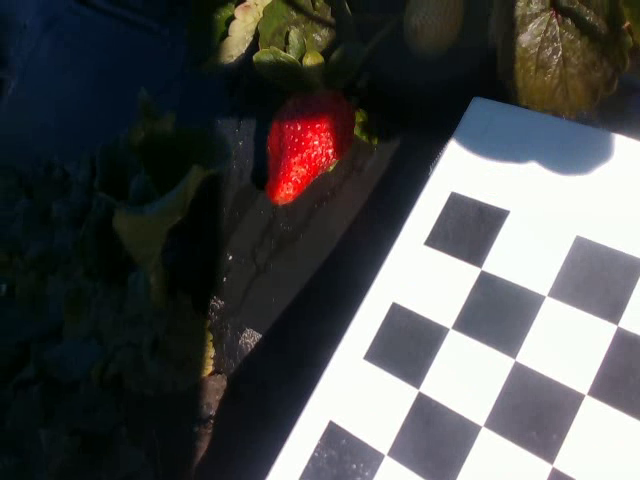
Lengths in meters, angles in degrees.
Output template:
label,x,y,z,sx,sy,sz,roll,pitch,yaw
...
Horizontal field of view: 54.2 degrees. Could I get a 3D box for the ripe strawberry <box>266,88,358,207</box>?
label,x,y,z,sx,sy,sz,roll,pitch,yaw
ripe strawberry,-0.008,-0.040,0.278,0.048,0.069,0.040,4,-26,24
